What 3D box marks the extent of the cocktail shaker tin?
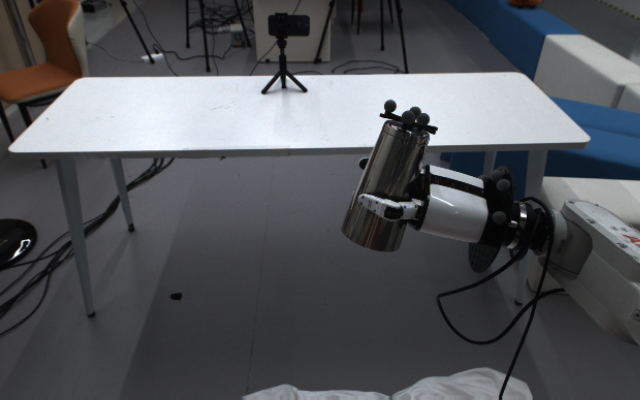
[{"bbox_3d":[0.099,-0.023,0.695,0.093,0.170,0.093,15,20,-5],"label":"cocktail shaker tin"}]
